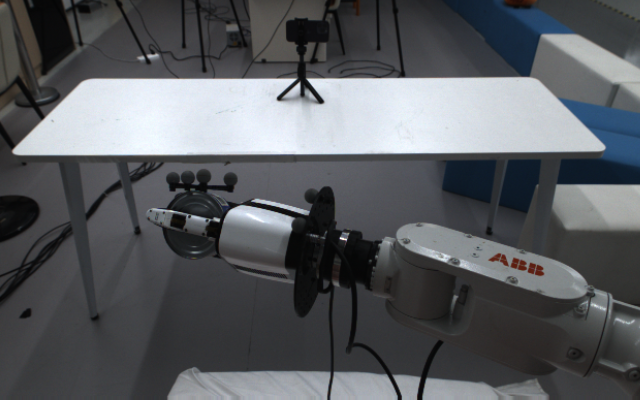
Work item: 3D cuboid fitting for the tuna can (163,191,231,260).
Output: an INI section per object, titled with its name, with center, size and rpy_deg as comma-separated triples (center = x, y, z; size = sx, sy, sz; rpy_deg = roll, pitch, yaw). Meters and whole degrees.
[tuna can]
center = -0.151, 0.032, 0.614
size = 0.085, 0.085, 0.034
rpy_deg = 11, -1, 13
